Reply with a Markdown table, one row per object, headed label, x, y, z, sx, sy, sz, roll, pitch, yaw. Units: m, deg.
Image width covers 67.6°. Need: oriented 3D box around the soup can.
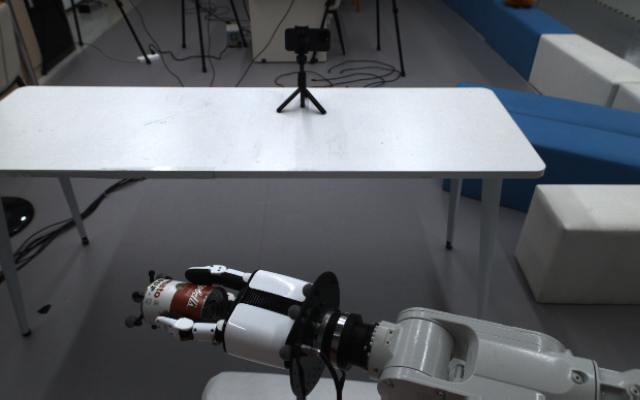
| label | x | y | z | sx | sy | sz | roll | pitch | yaw |
| --- | --- | --- | --- | --- | --- | --- | --- | --- | --- |
| soup can | -0.188 | 0.152 | 0.681 | 0.101 | 0.067 | 0.067 | 4 | 34 | 20 |
